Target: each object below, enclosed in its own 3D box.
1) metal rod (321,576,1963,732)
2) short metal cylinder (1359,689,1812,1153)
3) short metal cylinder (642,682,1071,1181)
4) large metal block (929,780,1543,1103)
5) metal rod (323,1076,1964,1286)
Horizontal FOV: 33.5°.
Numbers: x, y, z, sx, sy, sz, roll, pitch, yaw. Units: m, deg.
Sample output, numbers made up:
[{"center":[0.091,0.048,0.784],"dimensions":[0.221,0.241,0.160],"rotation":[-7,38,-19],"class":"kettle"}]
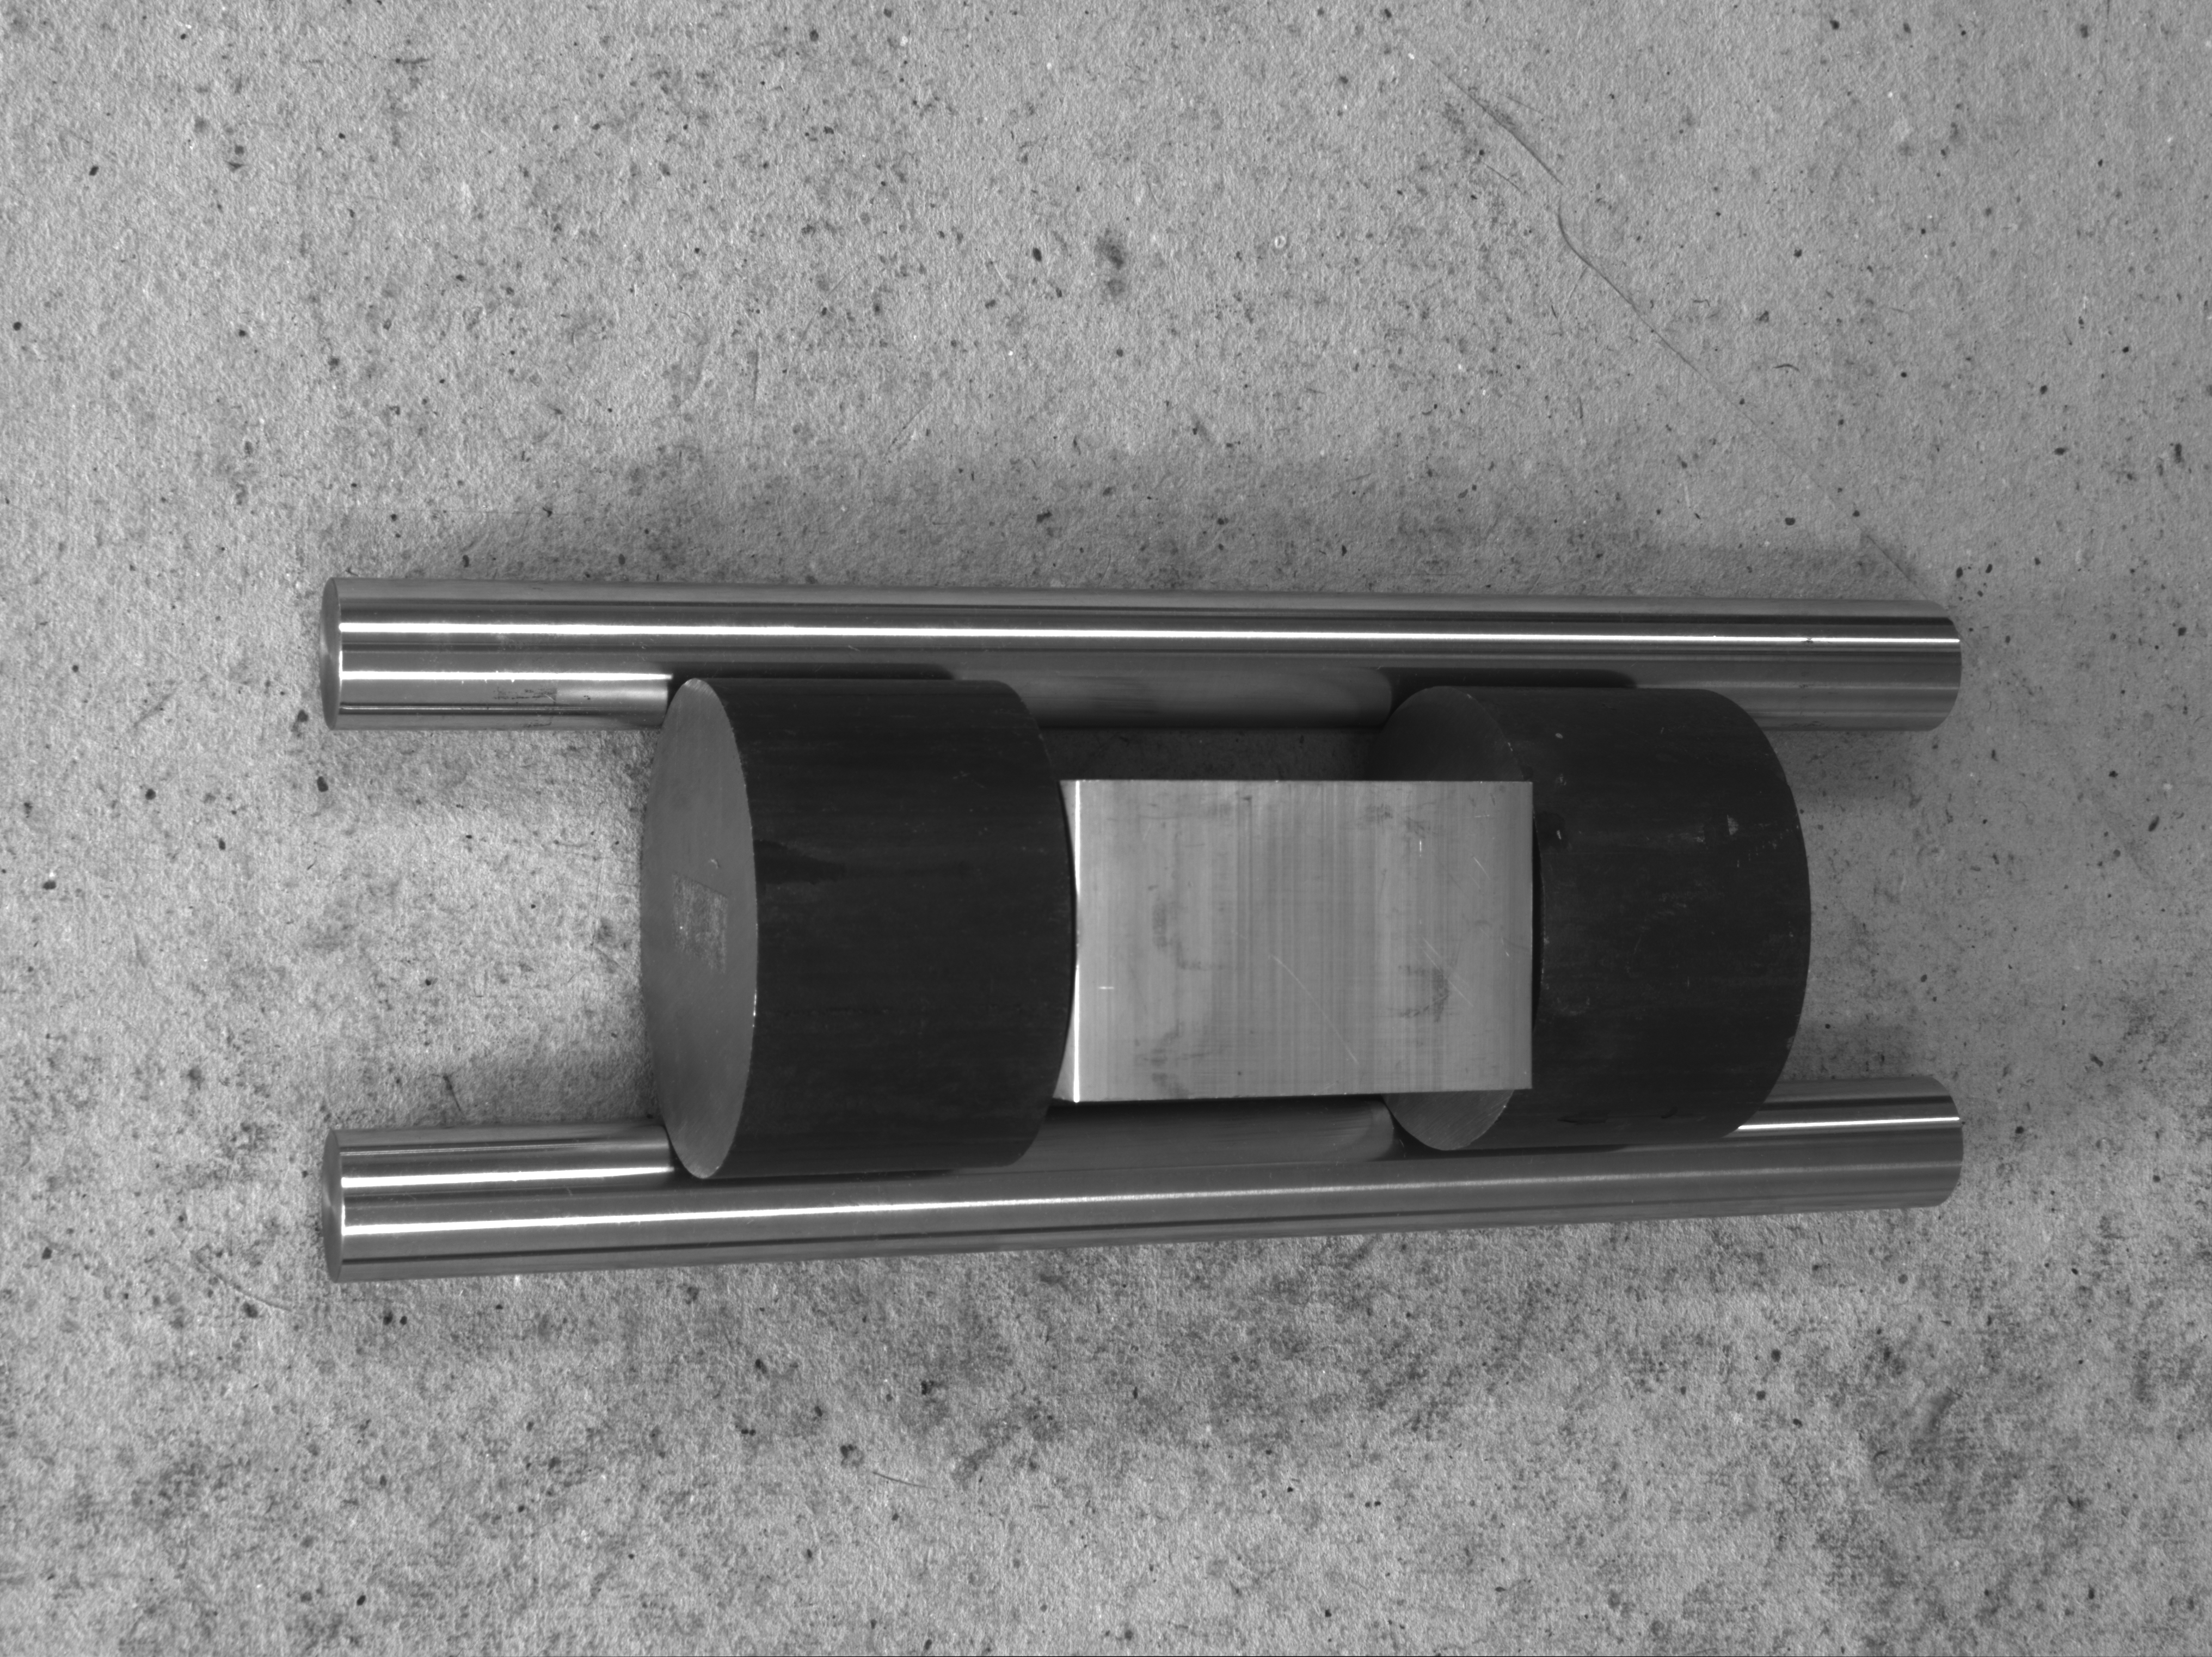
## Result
[{"center":[0.015,-0.030,0.649],"dimensions":[0.301,0.025,0.025],"rotation":[0,90,-20],"class":"metal rod"},{"center":[0.081,0.016,0.643],"dimensions":[0.050,0.080,0.080],"rotation":[-1,90,-20],"class":"short metal cylinder"},{"center":[-0.042,0.016,0.599],"dimensions":[0.050,0.080,0.080],"rotation":[-1,90,-20],"class":"short metal cylinder"},{"center":[0.020,0.018,0.619],"dimensions":[0.080,0.080,0.050],"rotation":[0,90,-20],"class":"large metal block"},{"center":[0.015,0.061,0.649],"dimensions":[0.301,0.025,0.025],"rotation":[0,90,-20],"class":"metal rod"}]
